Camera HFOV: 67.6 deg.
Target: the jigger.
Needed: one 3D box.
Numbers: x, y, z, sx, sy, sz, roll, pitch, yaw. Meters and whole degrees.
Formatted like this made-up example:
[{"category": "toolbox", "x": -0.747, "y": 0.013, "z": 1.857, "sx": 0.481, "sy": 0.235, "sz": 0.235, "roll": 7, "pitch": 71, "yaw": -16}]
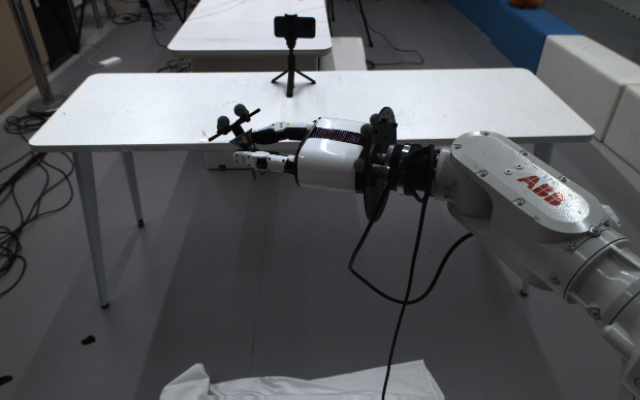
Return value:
[{"category": "jigger", "x": -0.097, "y": -0.069, "z": 0.730, "sx": 0.043, "sy": 0.071, "sz": 0.043, "roll": -32, "pitch": 9, "yaw": 6}]
